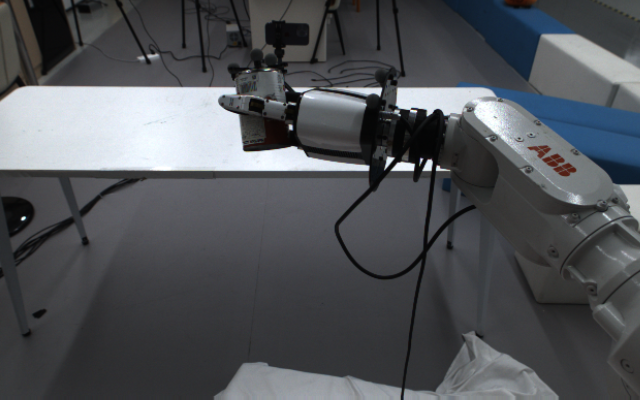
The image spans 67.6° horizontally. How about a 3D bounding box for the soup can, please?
[{"bbox_3d":[-0.076,-0.119,0.657,0.067,0.101,0.067,-7,2,0],"label":"soup can"}]
